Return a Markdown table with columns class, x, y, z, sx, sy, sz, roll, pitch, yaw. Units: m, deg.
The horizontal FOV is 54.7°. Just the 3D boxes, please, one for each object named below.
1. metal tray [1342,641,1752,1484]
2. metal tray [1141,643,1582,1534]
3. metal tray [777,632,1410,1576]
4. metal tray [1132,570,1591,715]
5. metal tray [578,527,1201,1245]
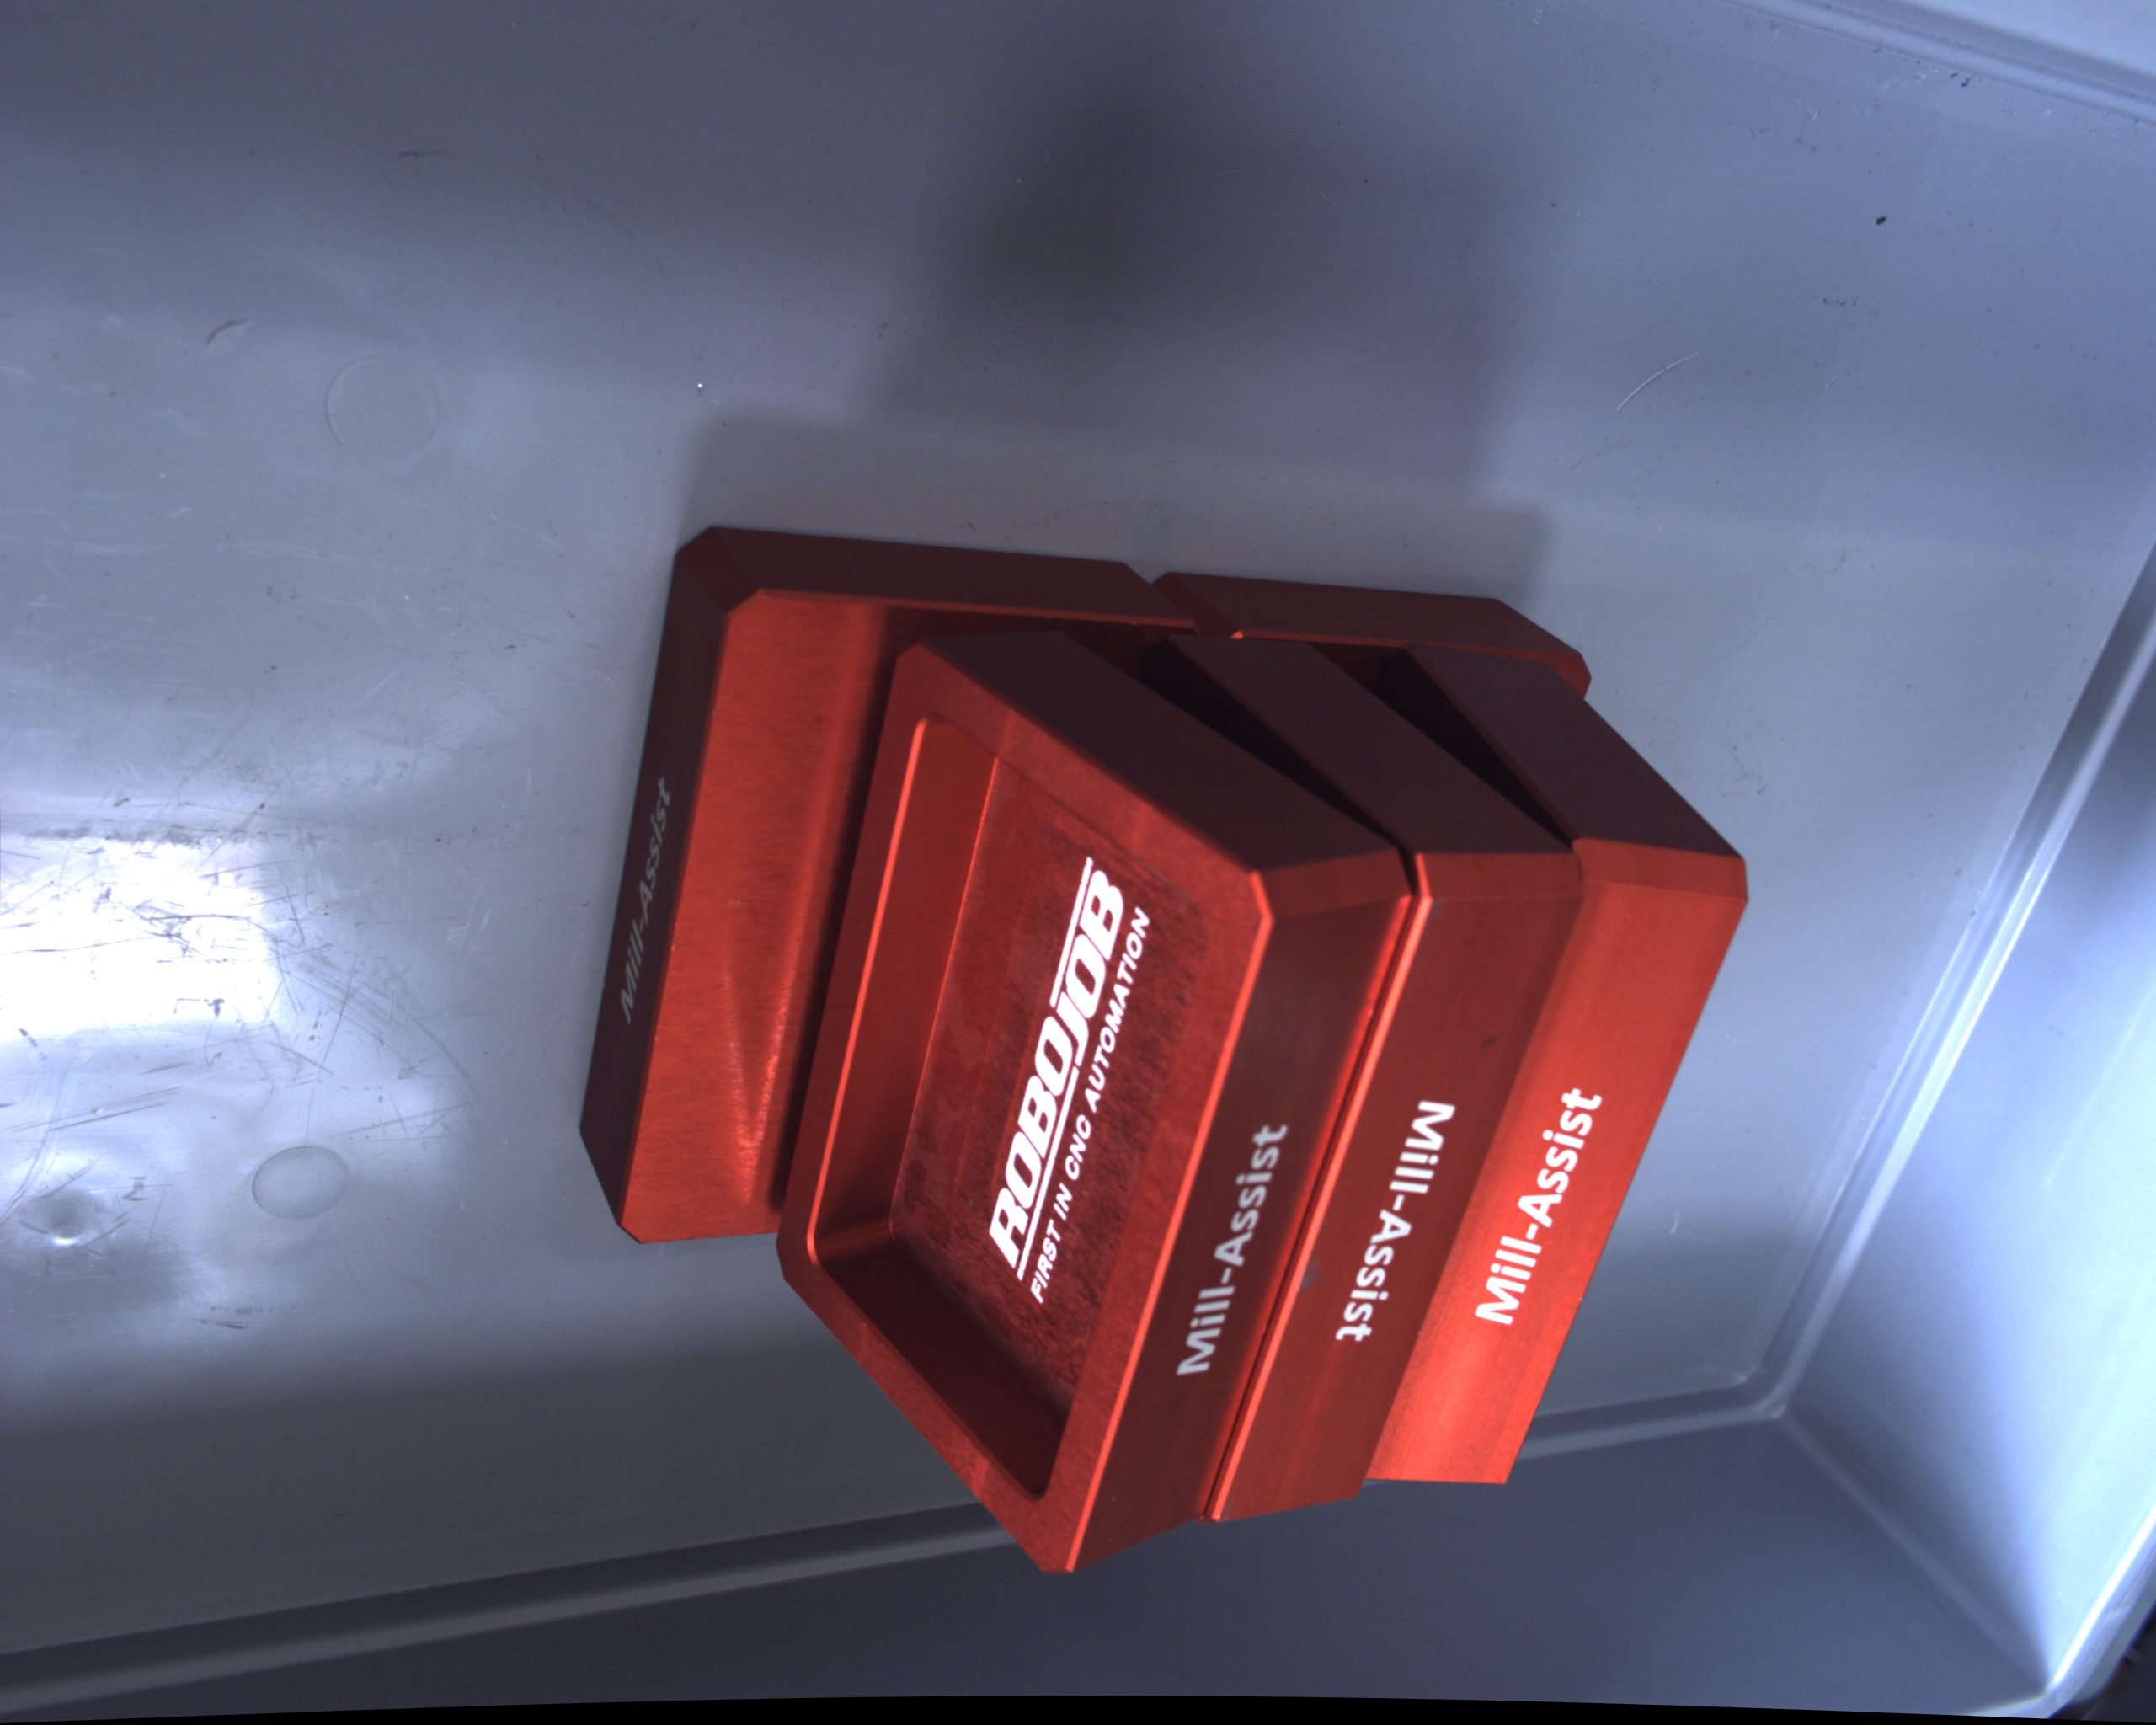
| class | x | y | z | sx | sy | sz | roll | pitch | yaw |
| --- | --- | --- | --- | --- | --- | --- | --- | --- | --- |
| metal tray | 0.068 | 0.036 | 0.382 | 0.030 | 0.090 | 0.129 | 7 | 116 | -16 |
| metal tray | 0.031 | 0.037 | 0.364 | 0.030 | 0.090 | 0.129 | 0 | 117 | -28 |
| metal tray | -0.004 | 0.038 | 0.343 | 0.030 | 0.090 | 0.129 | -8 | 123 | -40 |
| metal tray | 0.043 | 0.008 | 0.432 | 0.091 | 0.030 | 0.129 | 0 | 118 | -29 |
| metal tray | -0.036 | 0.007 | 0.387 | 0.091 | 0.030 | 0.129 | 0 | 118 | -29 |
